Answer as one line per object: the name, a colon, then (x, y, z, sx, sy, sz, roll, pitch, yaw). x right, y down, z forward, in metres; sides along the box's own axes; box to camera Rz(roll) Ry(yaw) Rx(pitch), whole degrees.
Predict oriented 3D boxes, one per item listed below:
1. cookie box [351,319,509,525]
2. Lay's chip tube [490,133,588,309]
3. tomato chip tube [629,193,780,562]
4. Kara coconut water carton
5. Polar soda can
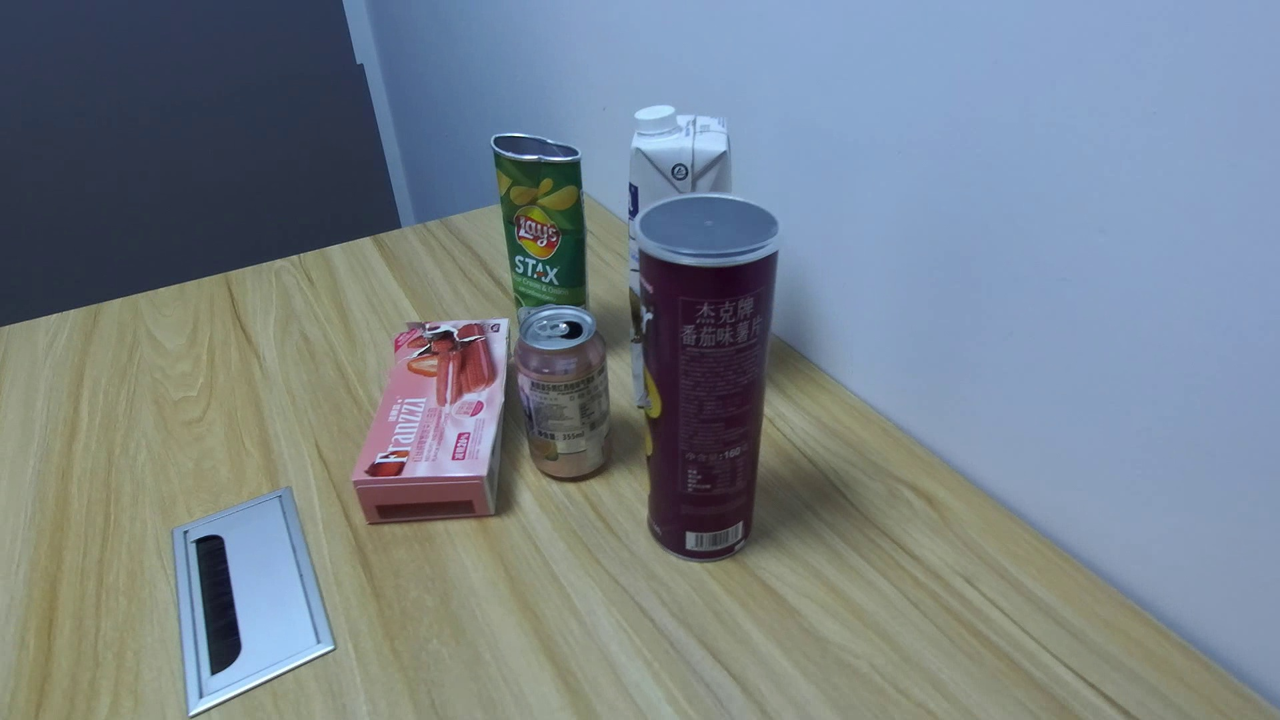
cookie box: (-0.161, 0.041, 0.574, 0.105, 0.059, 0.185, -5, 38, -2)
Lay's chip tube: (-0.081, -0.091, 0.624, 0.075, 0.200, 0.069, -5, 37, -4)
tomato chip tube: (0.040, 0.023, 0.437, 0.078, 0.234, 0.078, -2, 37, 1)
Kara coconut water carton: (0.032, -0.073, 0.557, 0.075, 0.245, 0.077, 4, 36, 4)
Polar soda can: (-0.057, 0.026, 0.535, 0.067, 0.126, 0.067, -1, 36, 1)
